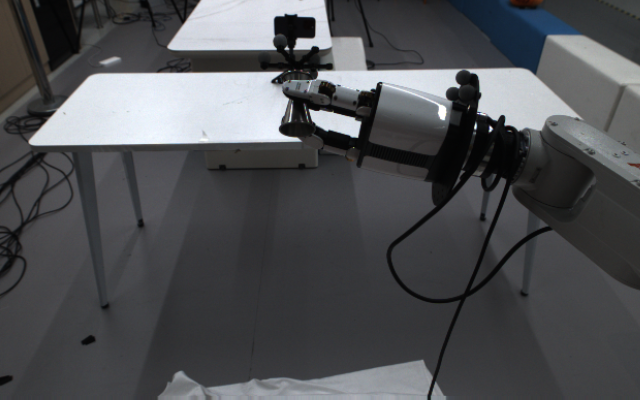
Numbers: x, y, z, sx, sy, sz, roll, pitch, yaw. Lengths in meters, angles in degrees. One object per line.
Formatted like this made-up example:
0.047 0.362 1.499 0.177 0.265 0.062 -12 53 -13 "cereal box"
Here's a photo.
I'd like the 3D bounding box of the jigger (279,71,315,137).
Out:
-0.027 -0.116 0.578 0.043 0.043 0.071 0 75 -3 "jigger"
